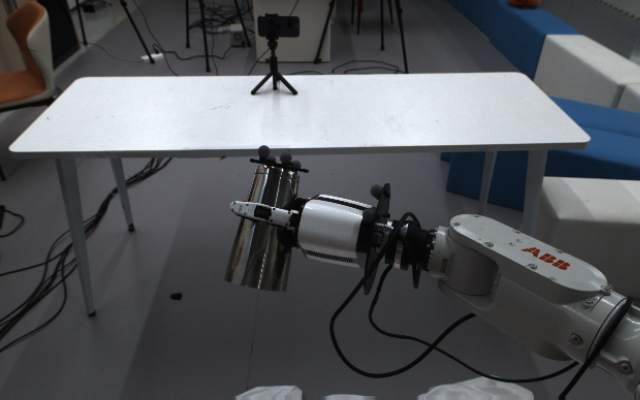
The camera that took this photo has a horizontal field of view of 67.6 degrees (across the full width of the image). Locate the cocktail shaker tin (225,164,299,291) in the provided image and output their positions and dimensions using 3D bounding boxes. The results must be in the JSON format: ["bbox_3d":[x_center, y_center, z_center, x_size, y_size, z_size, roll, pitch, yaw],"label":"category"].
[{"bbox_3d":[-0.077,0.040,0.708,0.093,0.170,0.093,11,-5,1],"label":"cocktail shaker tin"}]
